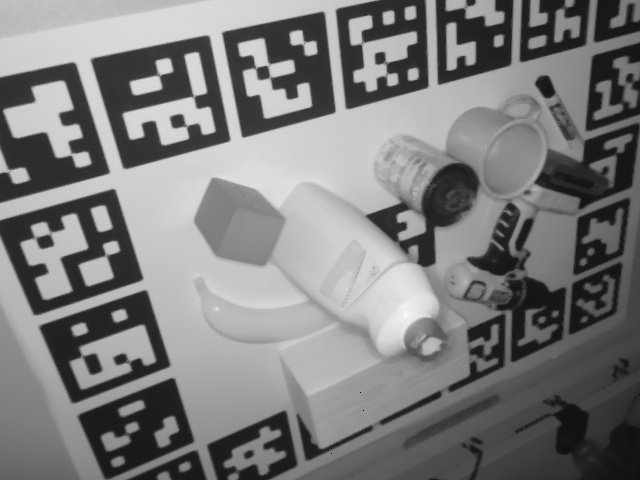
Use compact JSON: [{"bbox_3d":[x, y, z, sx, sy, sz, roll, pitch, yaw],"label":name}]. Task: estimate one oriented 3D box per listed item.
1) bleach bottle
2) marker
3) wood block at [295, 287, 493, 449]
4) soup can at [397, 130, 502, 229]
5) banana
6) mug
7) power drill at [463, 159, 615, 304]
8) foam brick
[{"bbox_3d":[0.046,0.030,0.634,0.069,0.250,0.101,10,112,-29],"label":"bleach bottle"},{"bbox_3d":[0.315,-0.163,0.810,0.019,0.019,0.121,-46,124,-1],"label":"marker"},{"bbox_3d":[0.087,0.144,0.809,0.208,0.090,0.089,-20,120,-15],"label":"wood block"},{"bbox_3d":[0.130,-0.065,0.710,0.069,0.102,0.067,-12,123,-18],"label":"soup can"},{"bbox_3d":[-0.009,0.085,0.760,0.200,0.038,0.074,-4,102,-22],"label":"banana"},{"bbox_3d":[0.223,-0.109,0.751,0.094,0.081,0.116,26,99,-31],"label":"mug"},{"bbox_3d":[0.282,-0.008,0.851,0.187,0.057,0.185,10,111,-26],"label":"power drill"},{"bbox_3d":[-0.067,-0.021,0.661,0.053,0.078,0.051,14,110,-32],"label":"foam brick"}]
